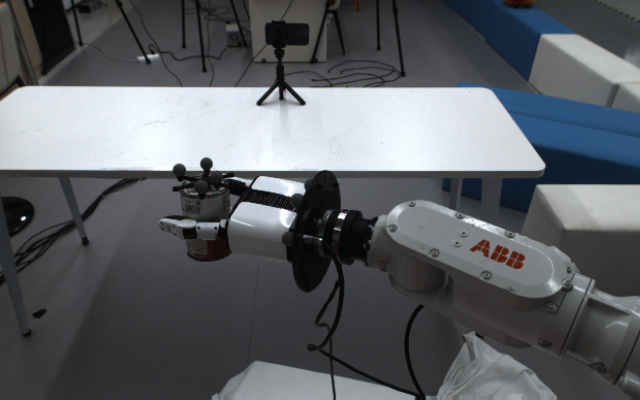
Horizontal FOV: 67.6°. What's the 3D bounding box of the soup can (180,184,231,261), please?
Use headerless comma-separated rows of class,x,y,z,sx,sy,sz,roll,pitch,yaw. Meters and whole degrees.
soup can,-0.156,0.028,0.676,0.067,0.101,0.067,1,25,0
